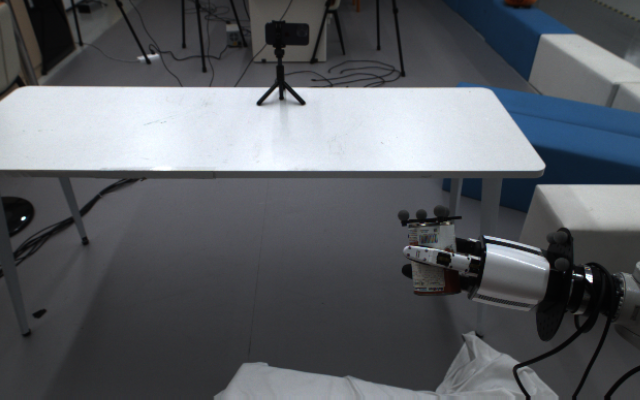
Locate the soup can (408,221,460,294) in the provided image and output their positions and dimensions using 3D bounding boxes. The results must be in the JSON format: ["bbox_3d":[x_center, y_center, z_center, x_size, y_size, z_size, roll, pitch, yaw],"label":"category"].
[{"bbox_3d":[0.168,0.084,0.705,0.067,0.101,0.067,-4,-5,0],"label":"soup can"}]
